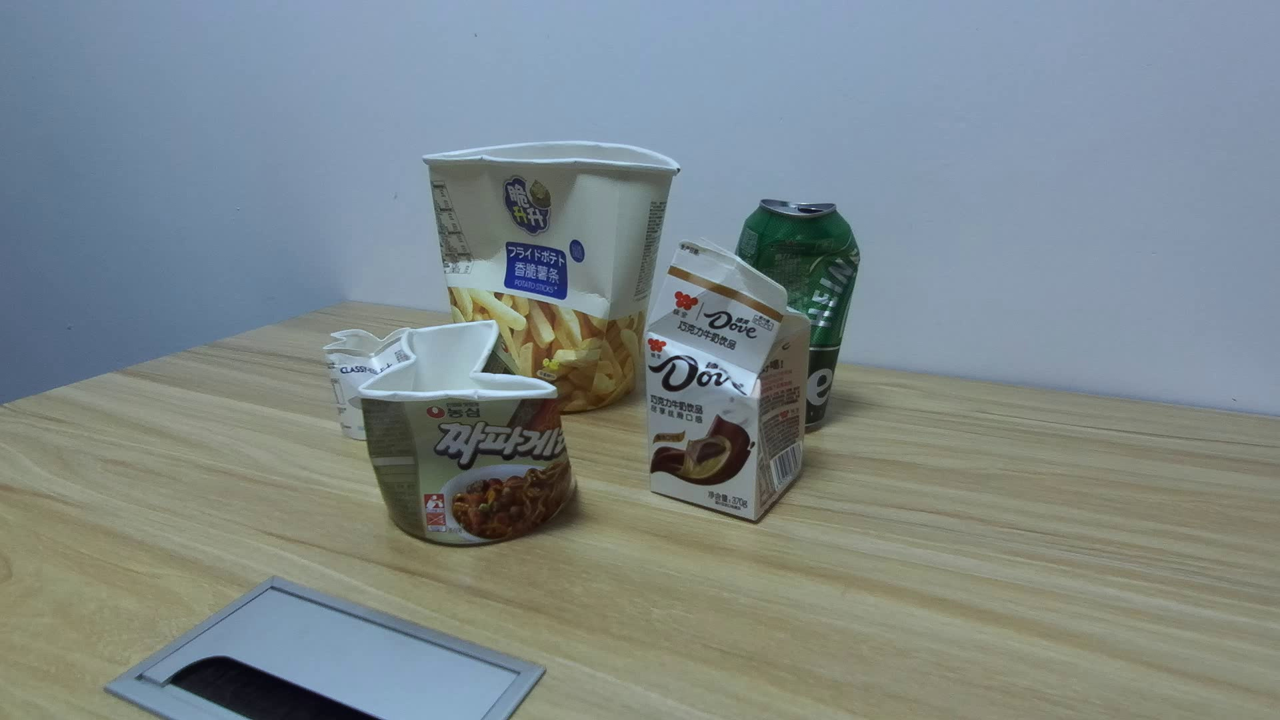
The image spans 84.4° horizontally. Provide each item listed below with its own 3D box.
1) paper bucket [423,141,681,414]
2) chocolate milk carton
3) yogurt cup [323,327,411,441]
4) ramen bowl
[{"bbox_3d":[-0.073,-0.072,0.579,0.218,0.199,0.147,1,20,5],"label":"paper bucket"},{"bbox_3d":[0.053,0.006,0.418,0.076,0.155,0.074,12,26,31],"label":"chocolate milk carton"},{"bbox_3d":[-0.194,0.016,0.516,0.055,0.072,0.055,-5,18,-6],"label":"yogurt cup"},{"bbox_3d":[-0.097,0.038,0.426,0.111,0.093,0.128,-2,20,-4],"label":"ramen bowl"}]
